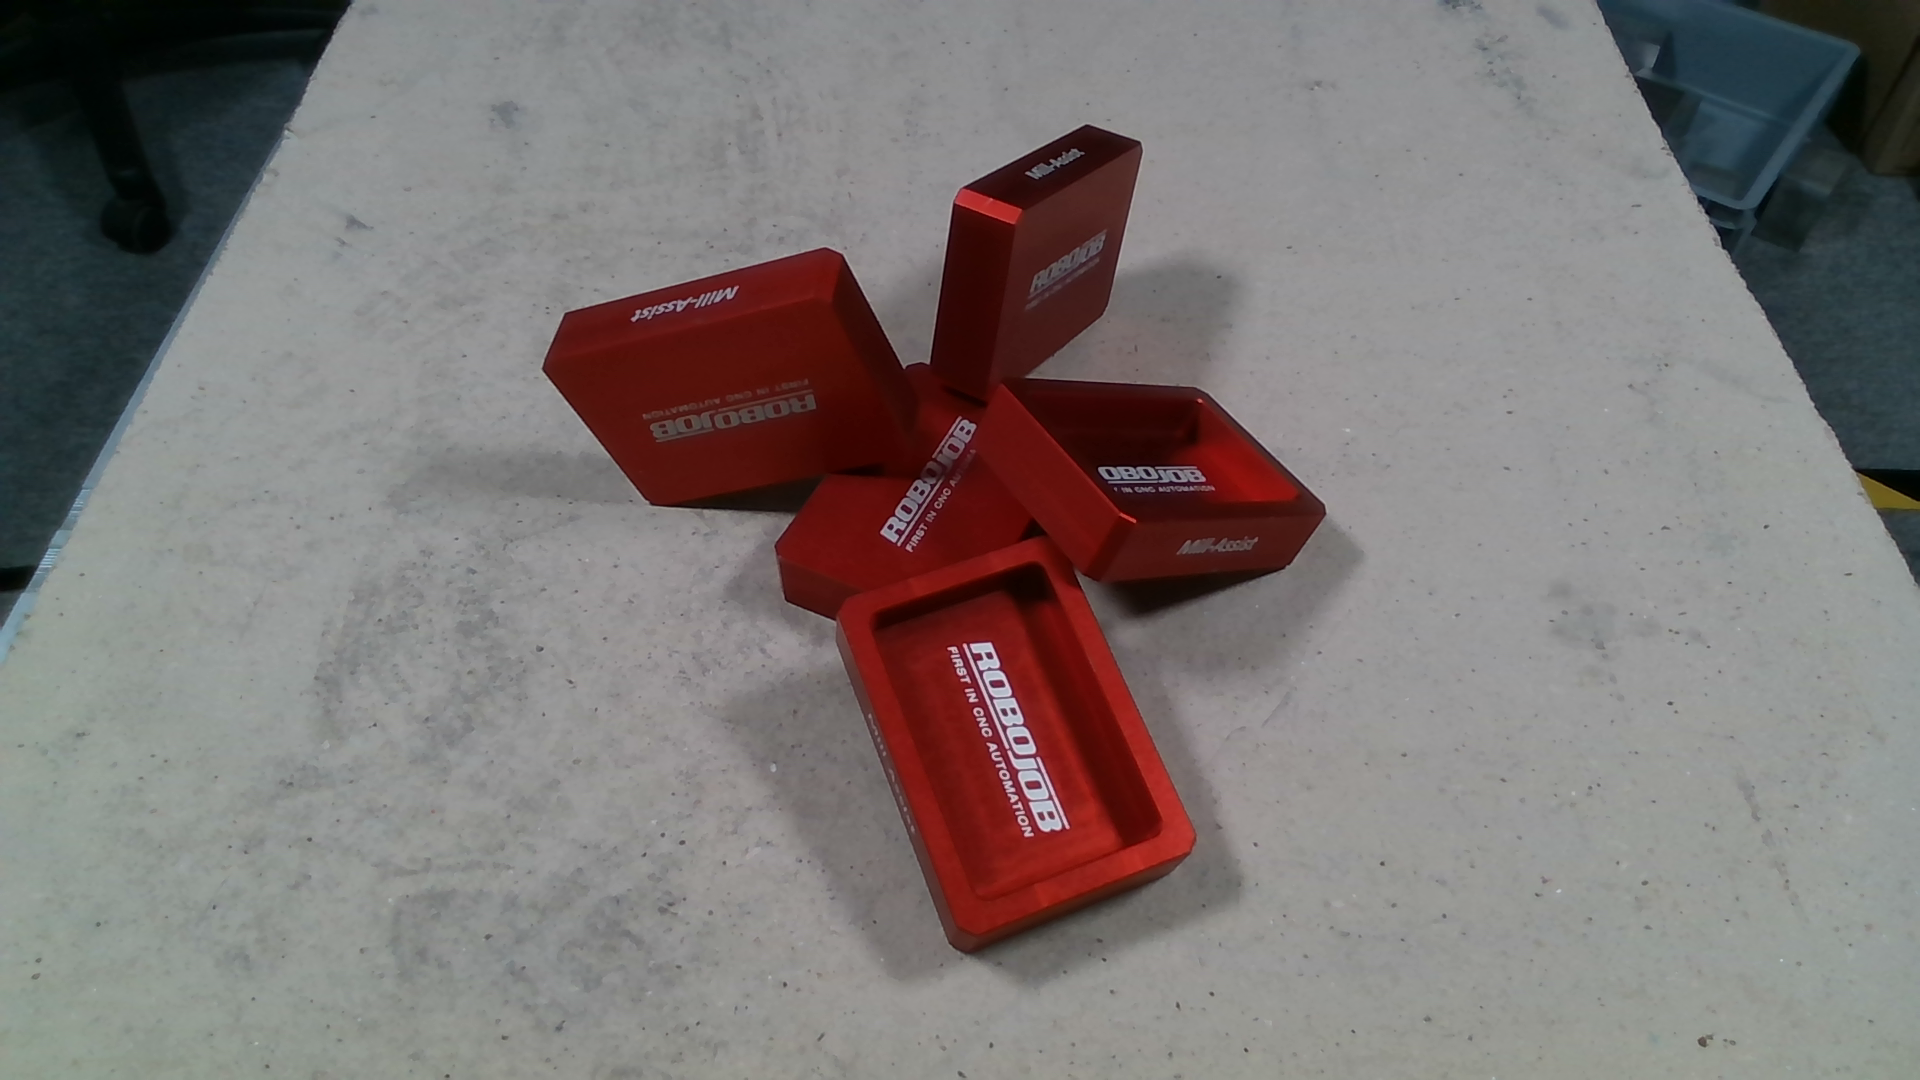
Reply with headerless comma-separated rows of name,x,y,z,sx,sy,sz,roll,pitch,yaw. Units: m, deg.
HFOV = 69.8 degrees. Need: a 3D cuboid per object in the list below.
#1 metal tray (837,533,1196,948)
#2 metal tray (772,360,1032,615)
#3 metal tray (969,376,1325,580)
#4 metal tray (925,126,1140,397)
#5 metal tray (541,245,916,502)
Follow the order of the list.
metal tray,0.017,0.070,0.504,0.090,0.030,0.130,-17,67,-14
metal tray,-0.011,-0.016,0.597,0.090,0.030,0.130,20,53,16
metal tray,0.079,-0.027,0.568,0.130,0.030,0.090,-3,43,-42
metal tray,0.035,-0.130,0.634,0.030,0.090,0.130,25,38,20
metal tray,-0.094,-0.066,0.574,0.130,0.090,0.030,-10,47,19
